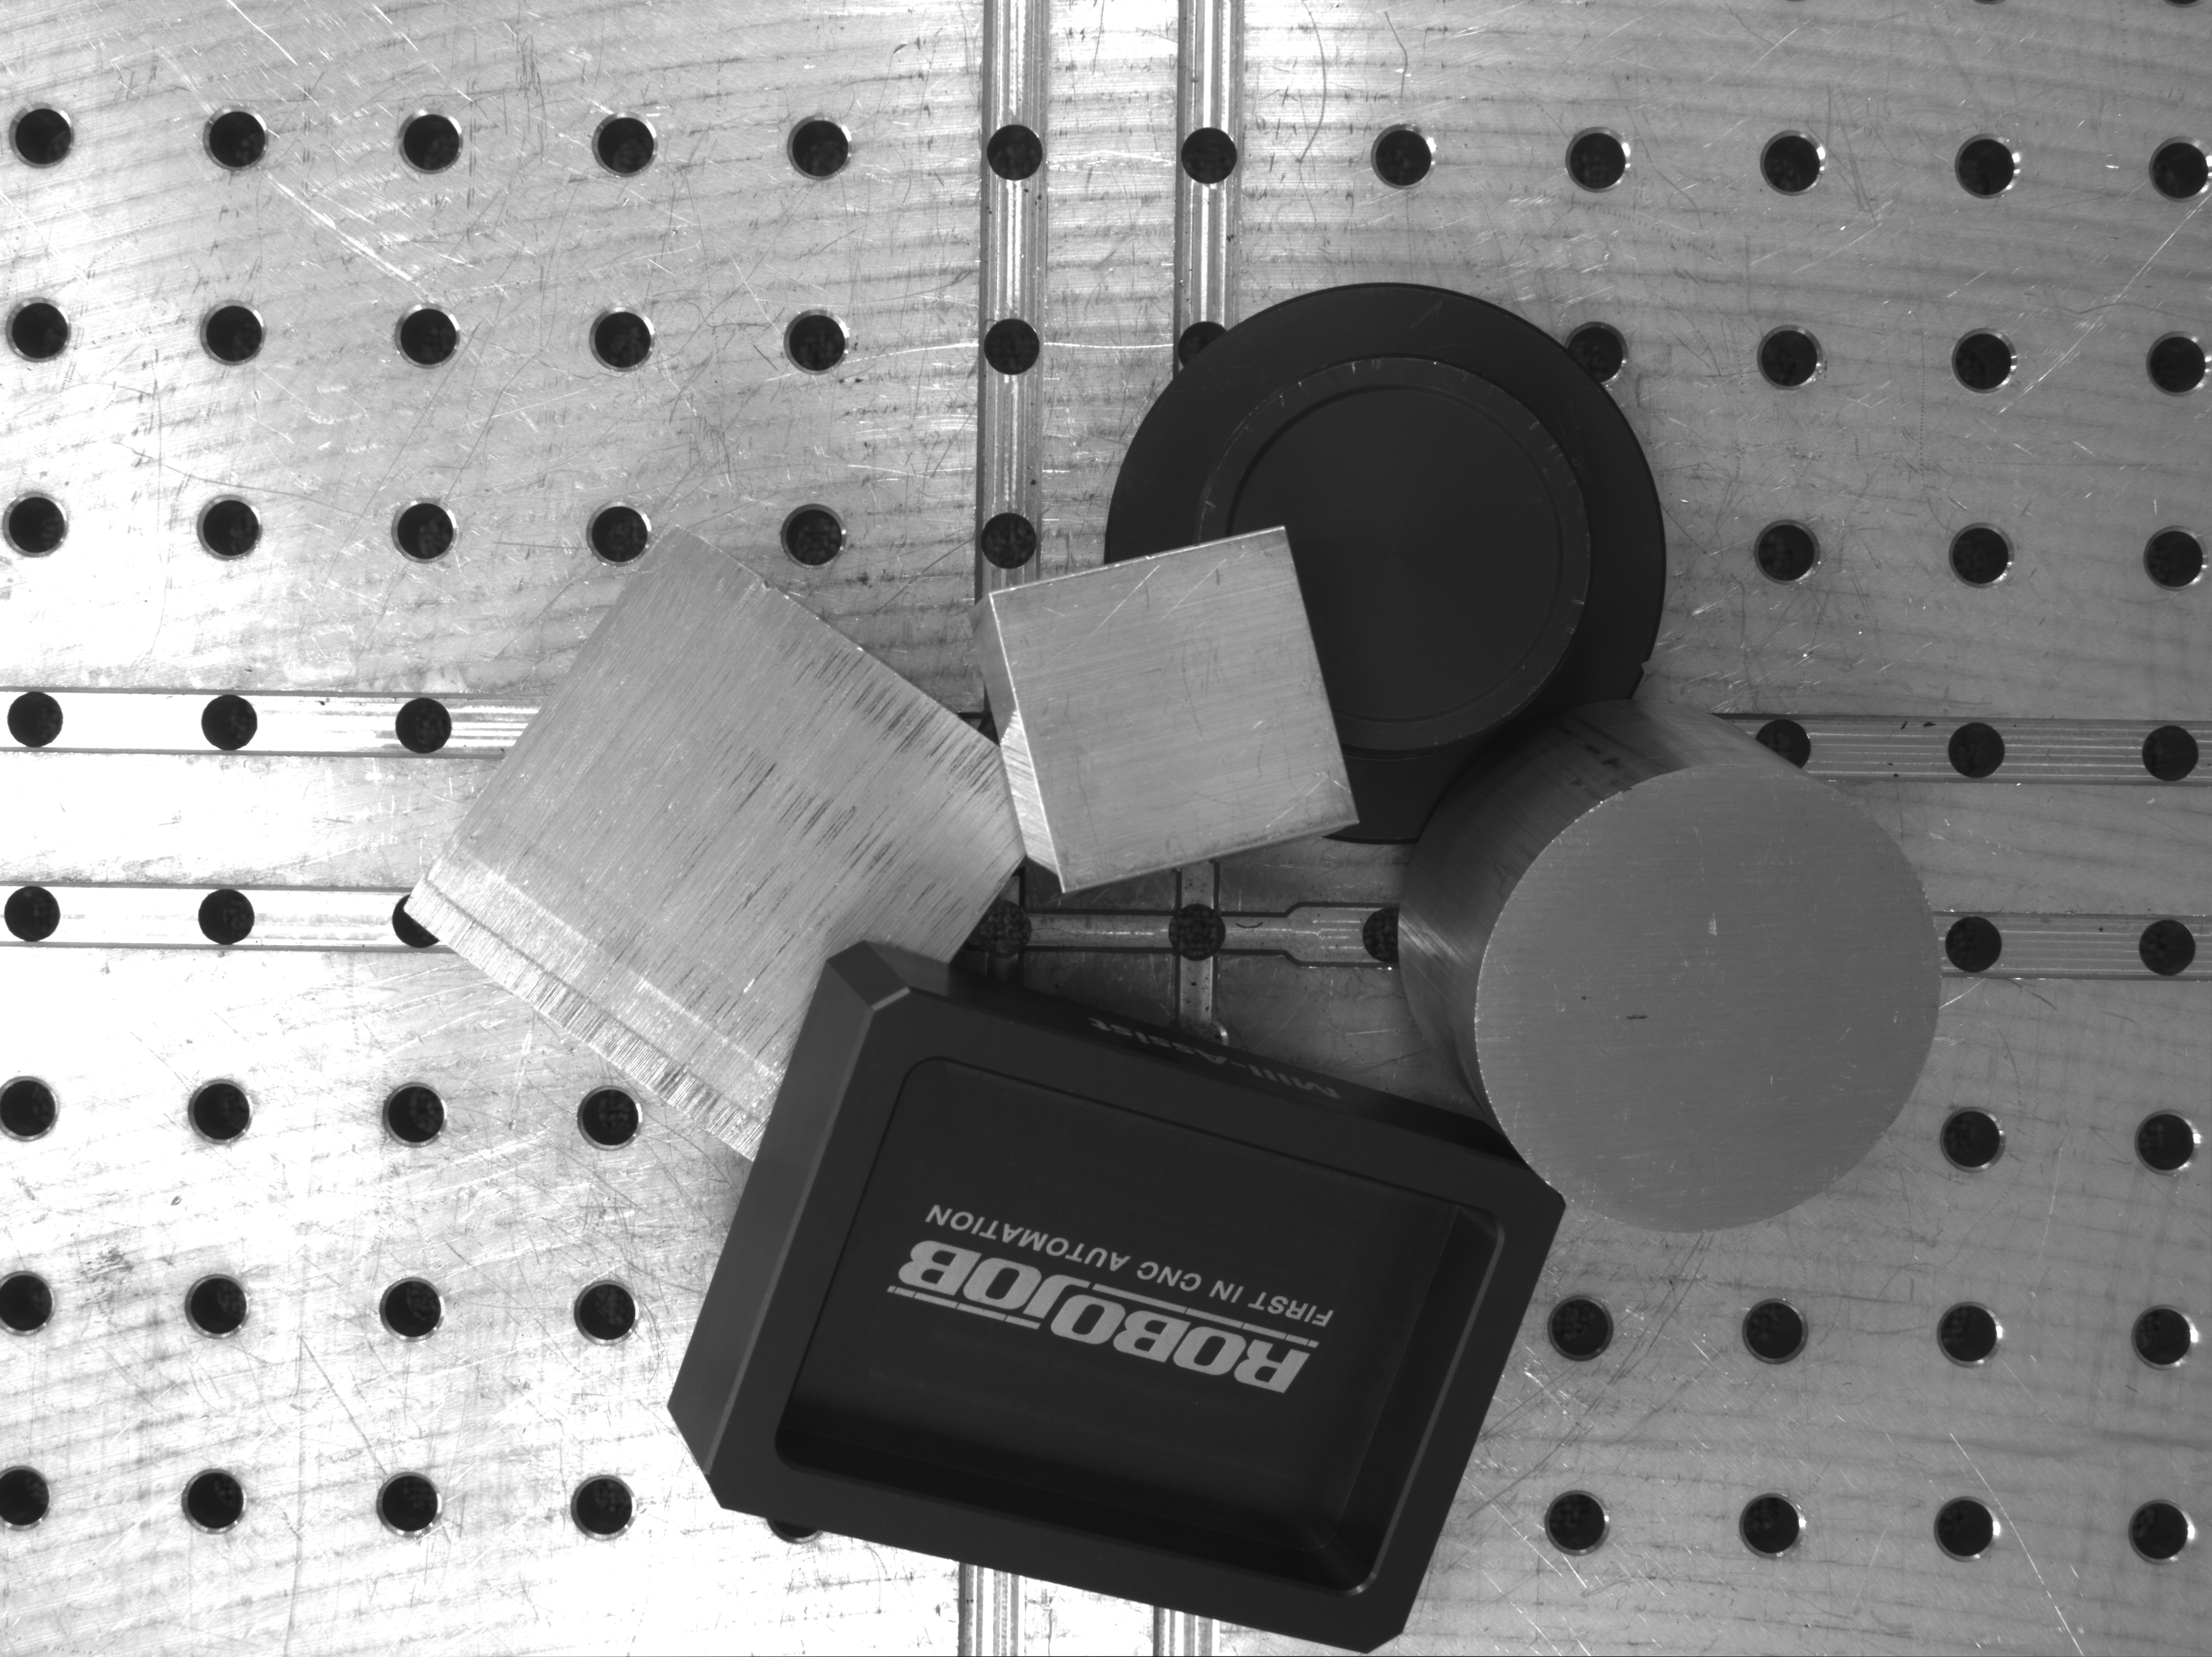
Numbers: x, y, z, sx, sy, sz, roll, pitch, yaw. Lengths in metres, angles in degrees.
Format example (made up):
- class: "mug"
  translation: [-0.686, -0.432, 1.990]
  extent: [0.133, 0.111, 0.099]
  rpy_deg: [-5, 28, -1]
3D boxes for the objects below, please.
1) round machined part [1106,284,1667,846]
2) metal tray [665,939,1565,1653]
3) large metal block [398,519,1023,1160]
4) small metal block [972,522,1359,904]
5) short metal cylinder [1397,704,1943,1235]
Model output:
- class: "round machined part"
  translation: [0.049, -0.046, 0.640]
  extent: [0.098, 0.042, 0.098]
  rpy_deg: [0, 90, 0]
- class: "metal tray"
  translation: [0.002, 0.080, 0.617]
  extent: [0.130, 0.030, 0.090]
  rpy_deg: [17, 97, -22]
- class: "large metal block"
  translation: [-0.062, 0.004, 0.636]
  extent: [0.080, 0.050, 0.080]
  rpy_deg: [36, 90, 0]
- class: "small metal block"
  translation: [0.009, -0.019, 0.602]
  extent: [0.050, 0.025, 0.050]
  rpy_deg: [-13, 87, -11]
- class: "short metal cylinder"
  translation: [0.095, 0.023, 0.625]
  extent: [0.080, 0.050, 0.080]
  rpy_deg: [-3, 104, -10]
